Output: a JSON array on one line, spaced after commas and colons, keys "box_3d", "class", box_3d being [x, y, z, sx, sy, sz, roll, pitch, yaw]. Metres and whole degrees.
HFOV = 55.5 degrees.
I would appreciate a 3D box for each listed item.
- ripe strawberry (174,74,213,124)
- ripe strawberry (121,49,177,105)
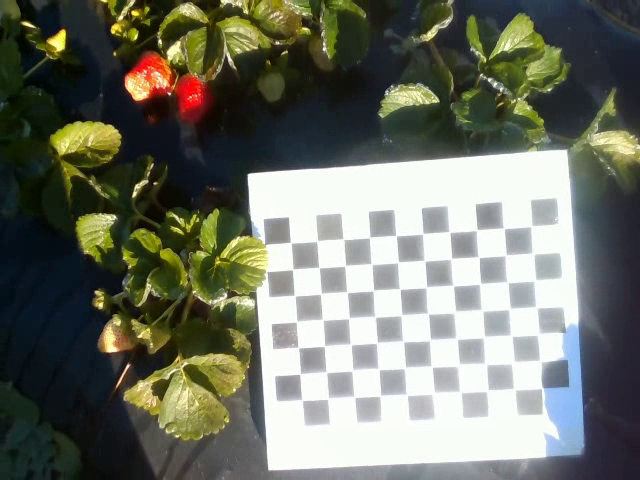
[{"box_3d": [-0.146, -0.163, 0.680, 0.043, 0.059, 0.040, -4, -4, 3], "class": "ripe strawberry"}, {"box_3d": [-0.196, -0.182, 0.691, 0.052, 0.070, 0.040, 42, -4, -6], "class": "ripe strawberry"}]
